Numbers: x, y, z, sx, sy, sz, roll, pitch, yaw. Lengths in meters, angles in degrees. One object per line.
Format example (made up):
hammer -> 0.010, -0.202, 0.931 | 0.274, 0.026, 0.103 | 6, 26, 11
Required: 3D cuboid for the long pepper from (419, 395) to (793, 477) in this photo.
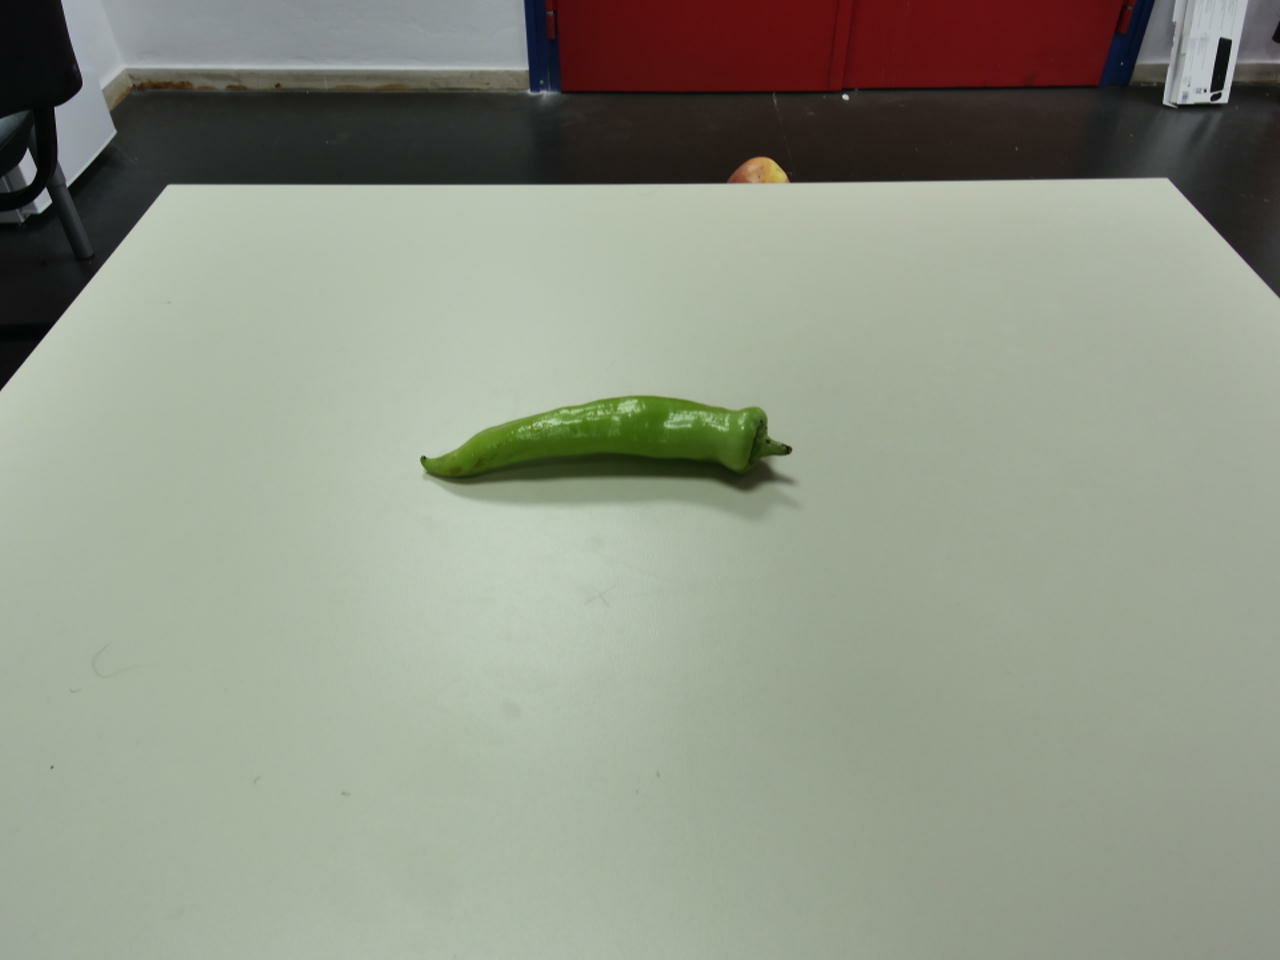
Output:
long pepper -> -0.019, -0.024, 0.531 | 0.197, 0.038, 0.046 | 1, 39, 2
